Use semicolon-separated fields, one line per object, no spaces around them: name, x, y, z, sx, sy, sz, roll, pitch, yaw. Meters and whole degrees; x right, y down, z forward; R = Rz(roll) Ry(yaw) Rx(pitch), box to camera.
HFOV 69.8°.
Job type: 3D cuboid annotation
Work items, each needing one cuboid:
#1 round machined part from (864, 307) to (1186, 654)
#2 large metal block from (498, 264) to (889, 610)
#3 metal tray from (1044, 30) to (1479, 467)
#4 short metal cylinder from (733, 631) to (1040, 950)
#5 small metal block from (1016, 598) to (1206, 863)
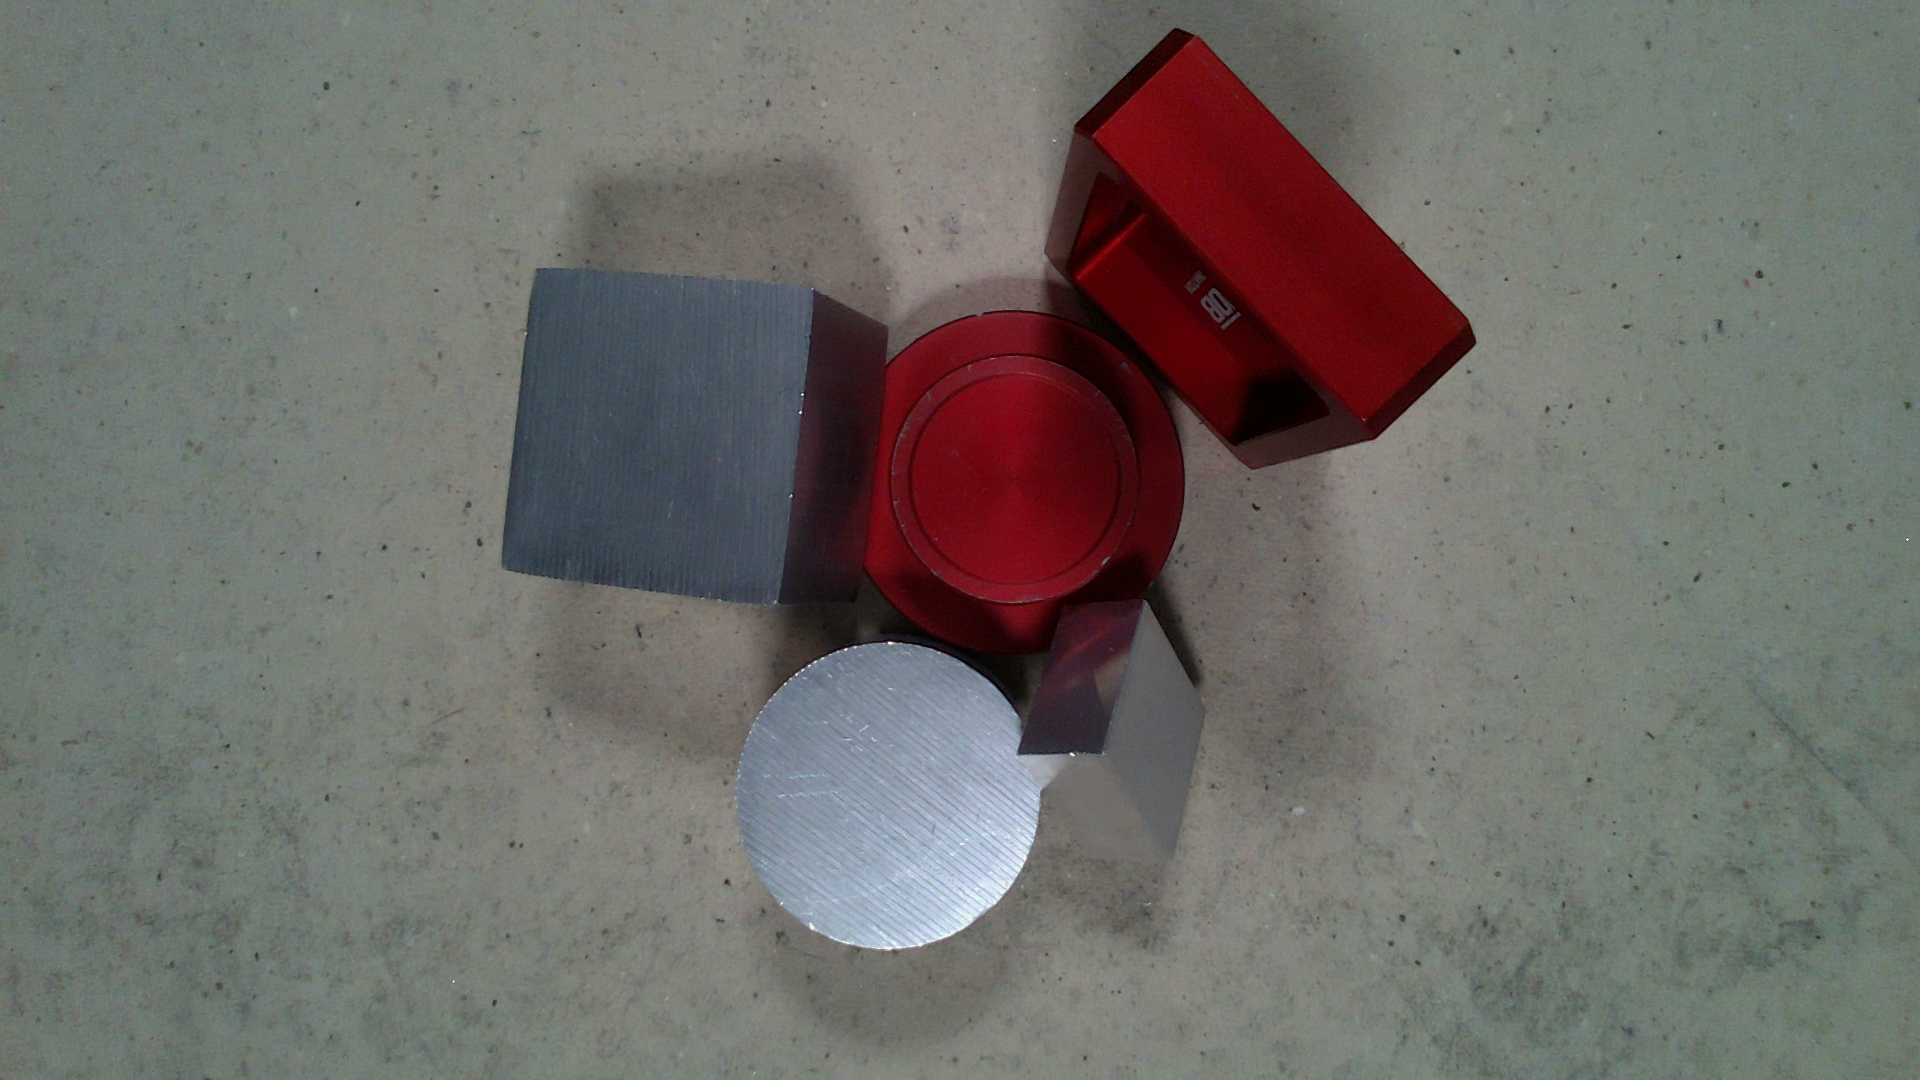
round machined part;0.015;-0.017;0.388;0.098;0.042;0.098;0;90;0
large metal block;-0.070;-0.027;0.370;0.080;0.050;0.080;7;90;17
metal tray;0.065;-0.063;0.342;0.030;0.130;0.090;-44;90;0
short metal cylinder;-0.019;0.067;0.383;0.080;0.050;0.080;0;90;0
small metal block;0.043;0.052;0.372;0.025;0.050;0.050;-6;135;31
